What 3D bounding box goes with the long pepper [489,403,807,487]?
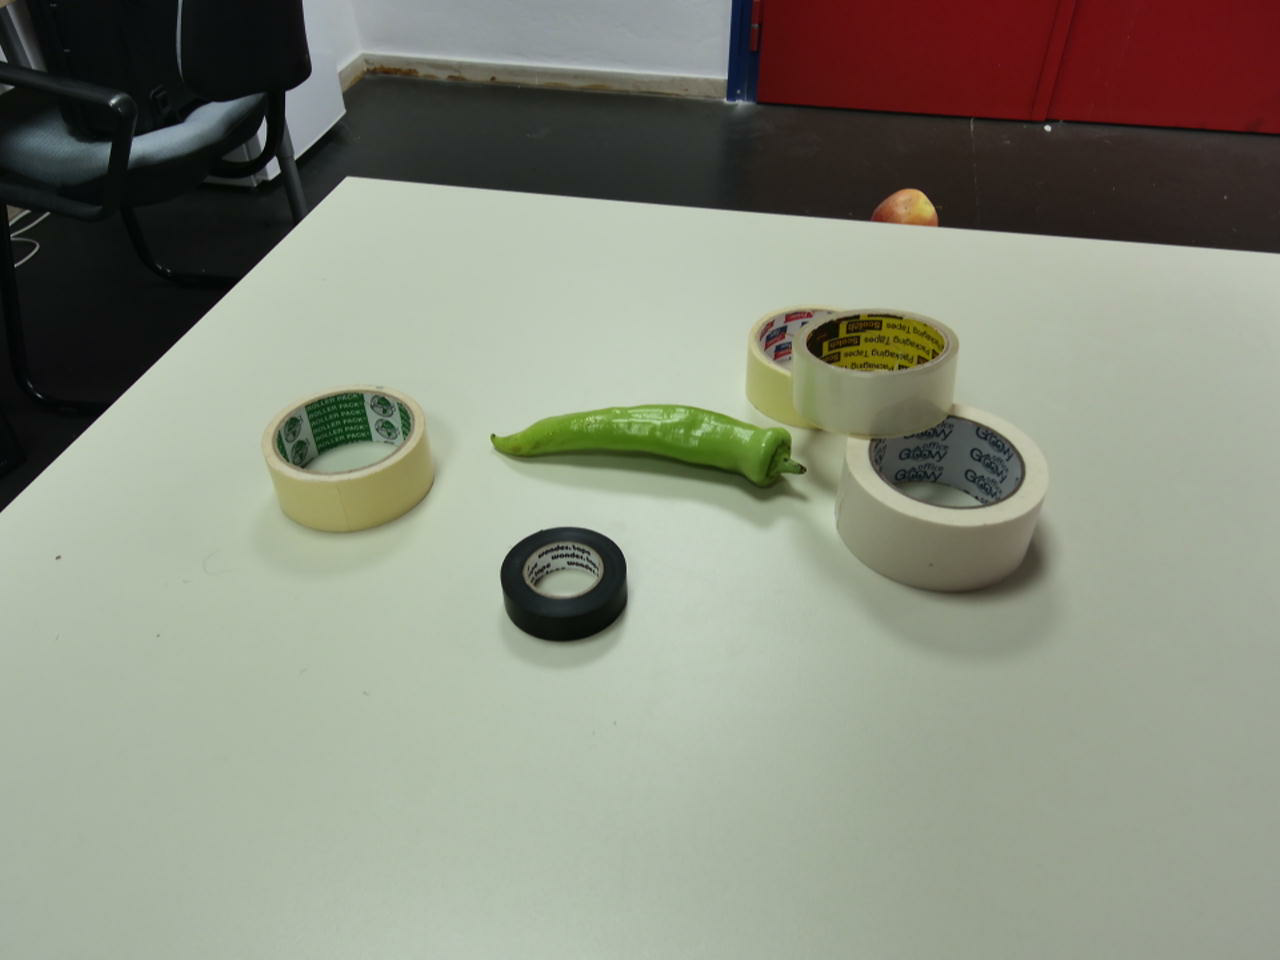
[{"bbox_3d":[0.004,-0.027,0.602,0.197,0.038,0.046,9,40,12],"label":"long pepper"}]
